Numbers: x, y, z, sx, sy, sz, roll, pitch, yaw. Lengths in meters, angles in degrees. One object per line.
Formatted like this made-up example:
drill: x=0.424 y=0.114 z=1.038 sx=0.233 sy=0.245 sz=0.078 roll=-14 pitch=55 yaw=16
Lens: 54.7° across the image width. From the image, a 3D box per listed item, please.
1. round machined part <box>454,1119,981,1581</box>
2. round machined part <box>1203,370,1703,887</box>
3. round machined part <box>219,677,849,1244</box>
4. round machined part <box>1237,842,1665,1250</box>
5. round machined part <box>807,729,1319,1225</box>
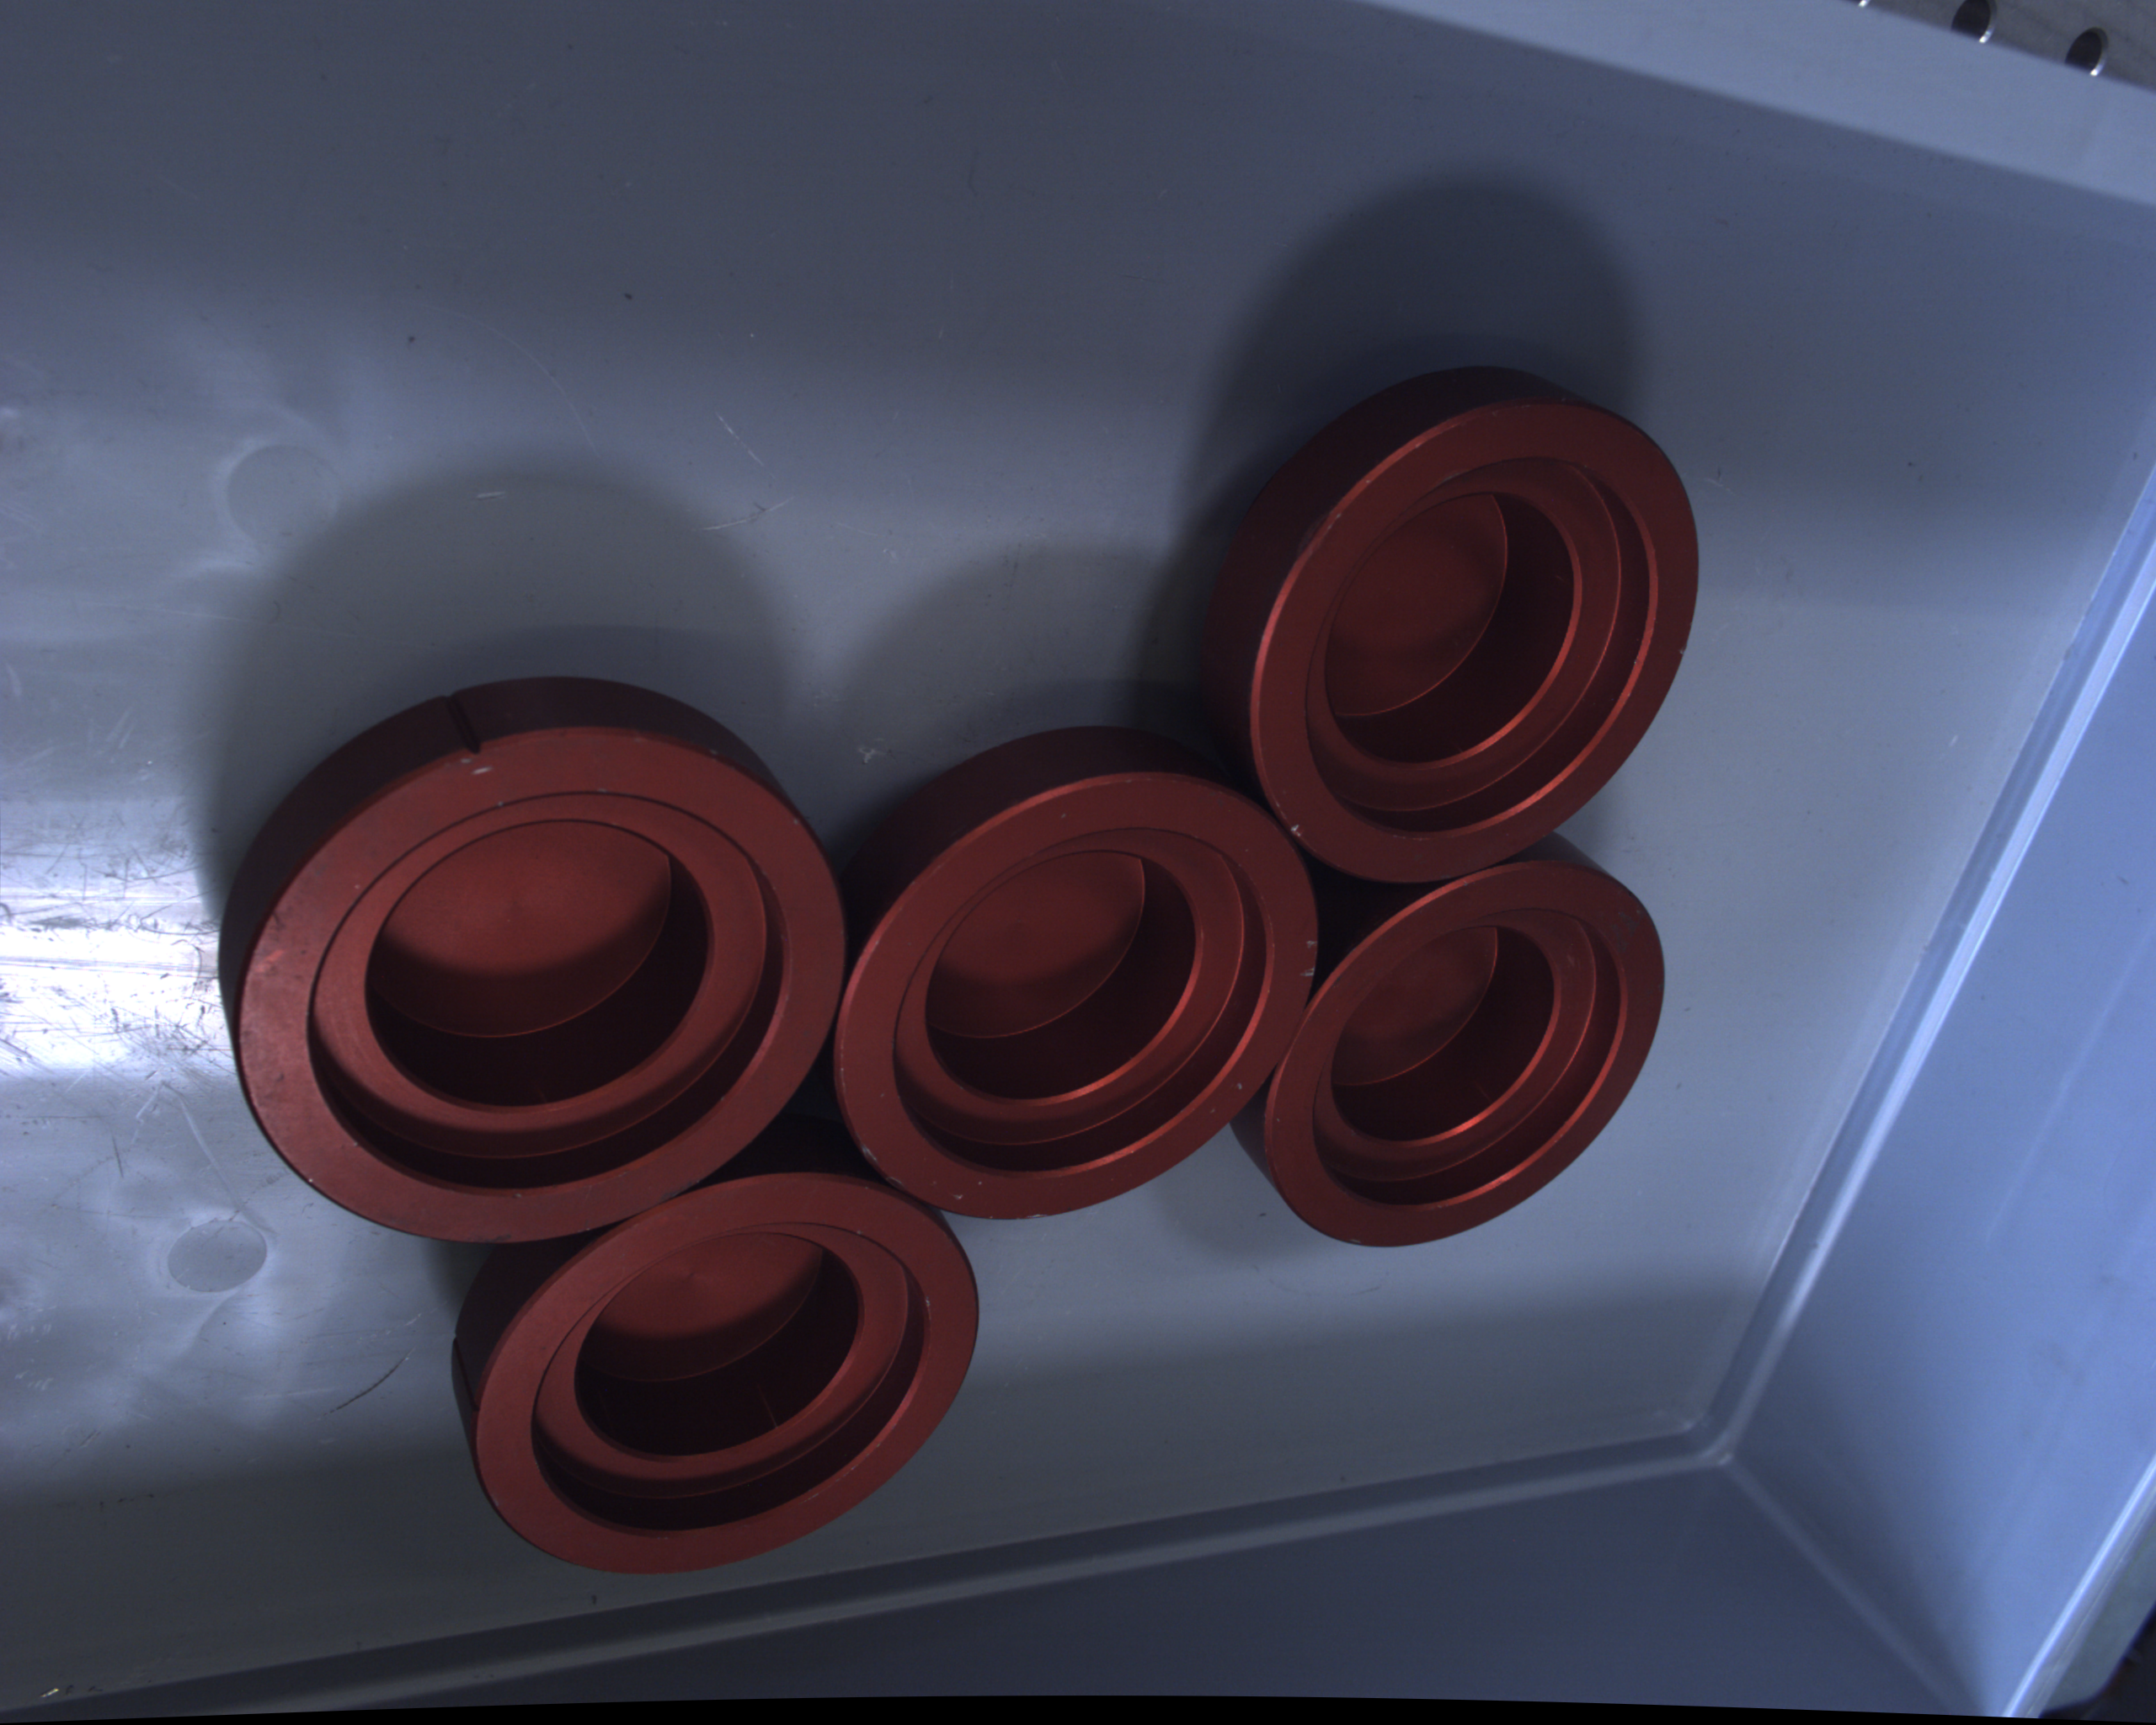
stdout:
round machined part: x=-0.072 y=0.090 z=0.410 sx=0.099 sy=0.042 sz=0.097 roll=-14 pitch=124 yaw=-21
round machined part: x=0.067 y=-0.047 z=0.402 sx=0.099 sy=0.042 sz=0.097 roll=-14 pitch=124 yaw=-21
round machined part: x=-0.092 y=0.013 z=0.352 sx=0.099 sy=0.042 sz=0.097 roll=-14 pitch=124 yaw=-21
round machined part: x=0.075 y=0.033 z=0.456 sx=0.099 sy=0.042 sz=0.097 roll=-14 pitch=124 yaw=-21
round machined part: x=-0.007 y=0.018 z=0.401 sx=0.099 sy=0.042 sz=0.097 roll=-14 pitch=124 yaw=-21
